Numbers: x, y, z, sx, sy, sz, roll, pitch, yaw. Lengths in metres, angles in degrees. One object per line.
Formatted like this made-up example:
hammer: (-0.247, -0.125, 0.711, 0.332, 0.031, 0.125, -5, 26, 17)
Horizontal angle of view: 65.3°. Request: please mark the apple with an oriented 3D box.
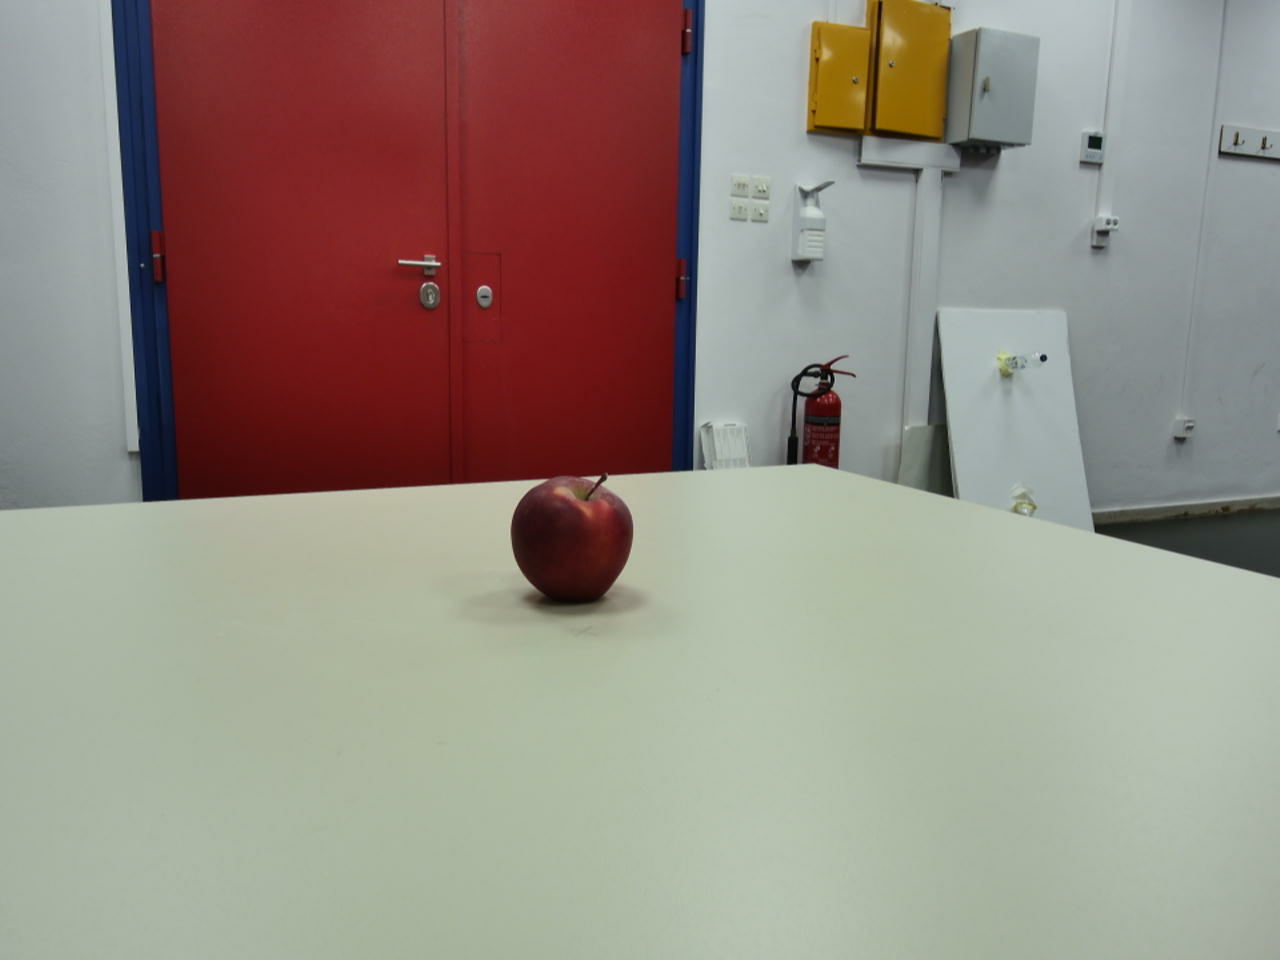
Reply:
apple: (-0.038, 0.033, 0.572, 0.070, 0.072, 0.070, 0, 8, 0)
